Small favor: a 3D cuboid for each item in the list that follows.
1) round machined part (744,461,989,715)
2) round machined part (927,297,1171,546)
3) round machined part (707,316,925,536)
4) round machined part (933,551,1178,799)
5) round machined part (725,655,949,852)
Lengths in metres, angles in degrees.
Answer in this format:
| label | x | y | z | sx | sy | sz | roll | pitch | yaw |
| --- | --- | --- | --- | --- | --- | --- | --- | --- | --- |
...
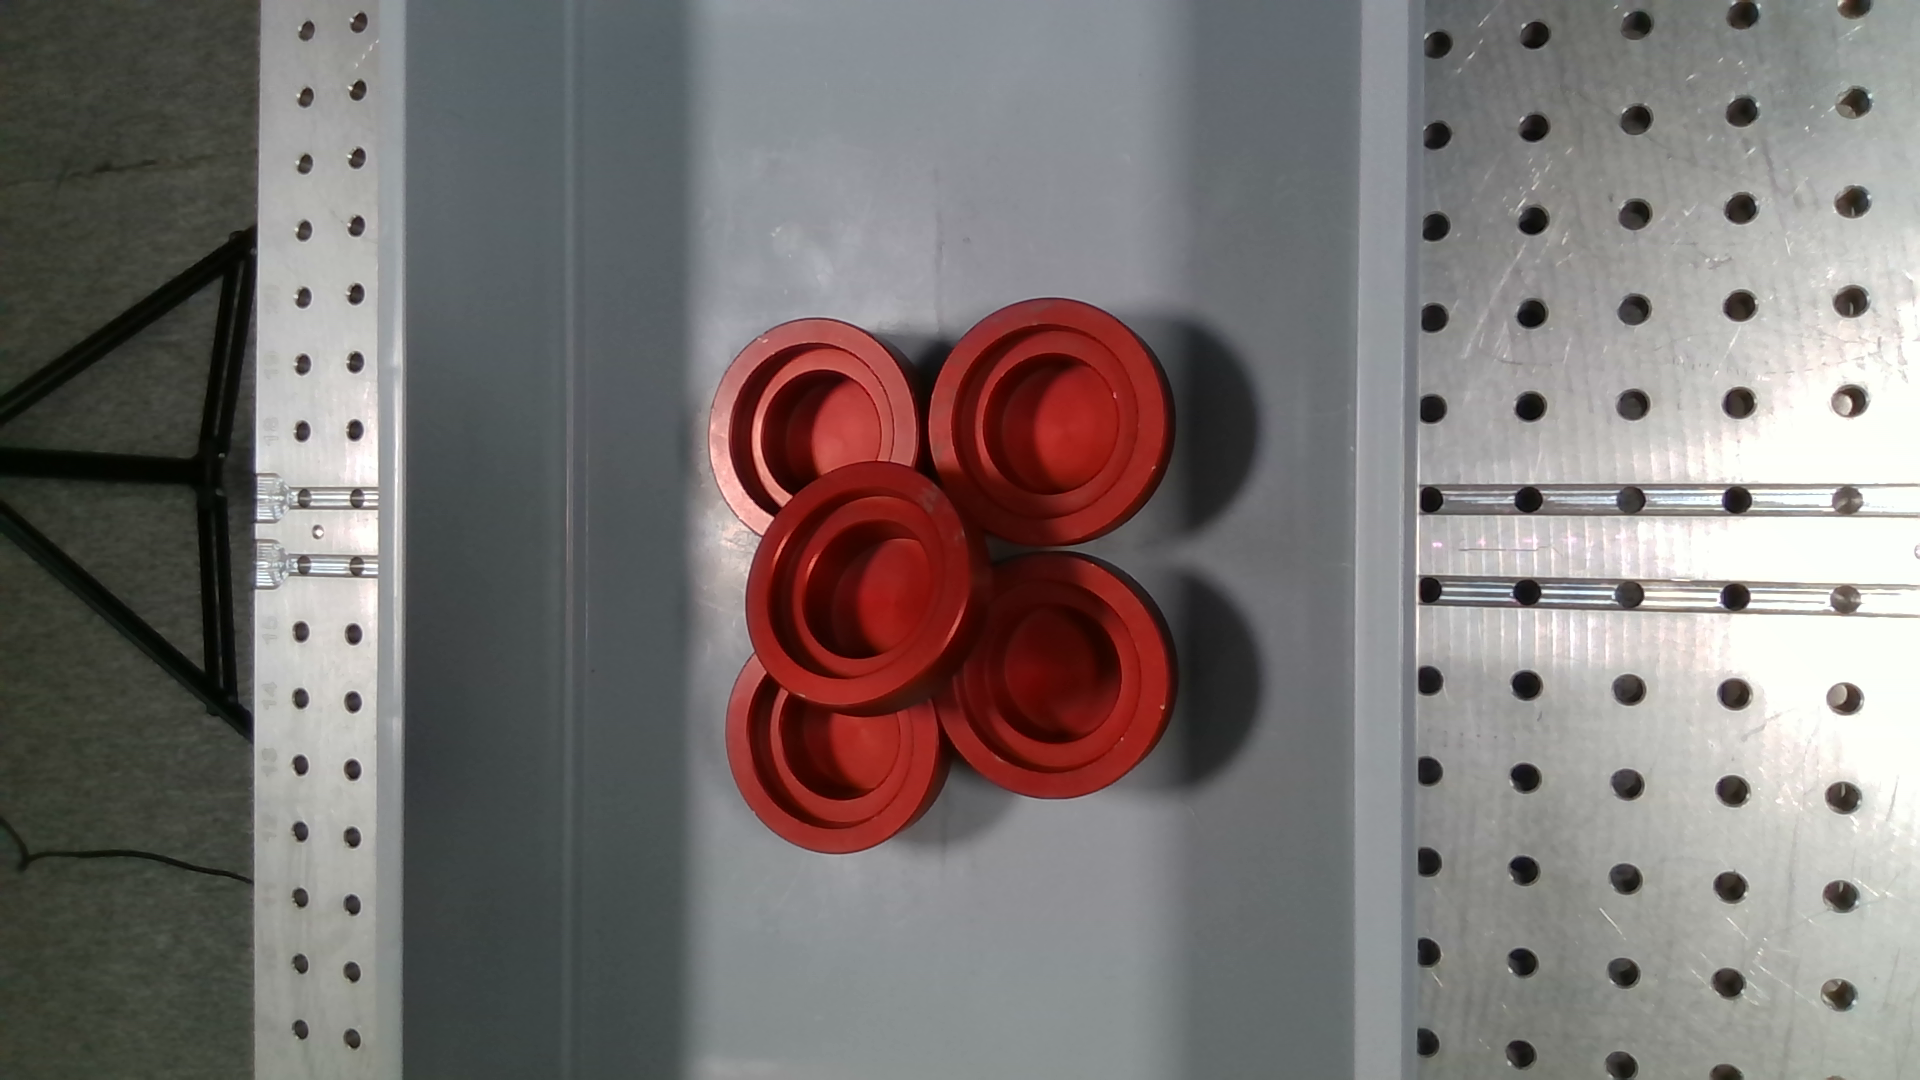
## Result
| label | x | y | z | sx | sy | sz | roll | pitch | yaw |
| --- | --- | --- | --- | --- | --- | --- | --- | --- | --- |
| round machined part | -0.032 | 0.022 | 0.542 | 0.098 | 0.042 | 0.098 | -9 | 69 | 23 |
| round machined part | 0.039 | -0.047 | 0.560 | 0.098 | 0.042 | 0.098 | 0 | 91 | 20 |
| round machined part | -0.056 | -0.045 | 0.595 | 0.098 | 0.042 | 0.098 | 0 | 91 | 20 |
| round machined part | 0.041 | 0.053 | 0.561 | 0.098 | 0.042 | 0.098 | 0 | 91 | 20 |
| round machined part | -0.048 | 0.081 | 0.594 | 0.098 | 0.042 | 0.098 | 0 | 91 | 20 |
